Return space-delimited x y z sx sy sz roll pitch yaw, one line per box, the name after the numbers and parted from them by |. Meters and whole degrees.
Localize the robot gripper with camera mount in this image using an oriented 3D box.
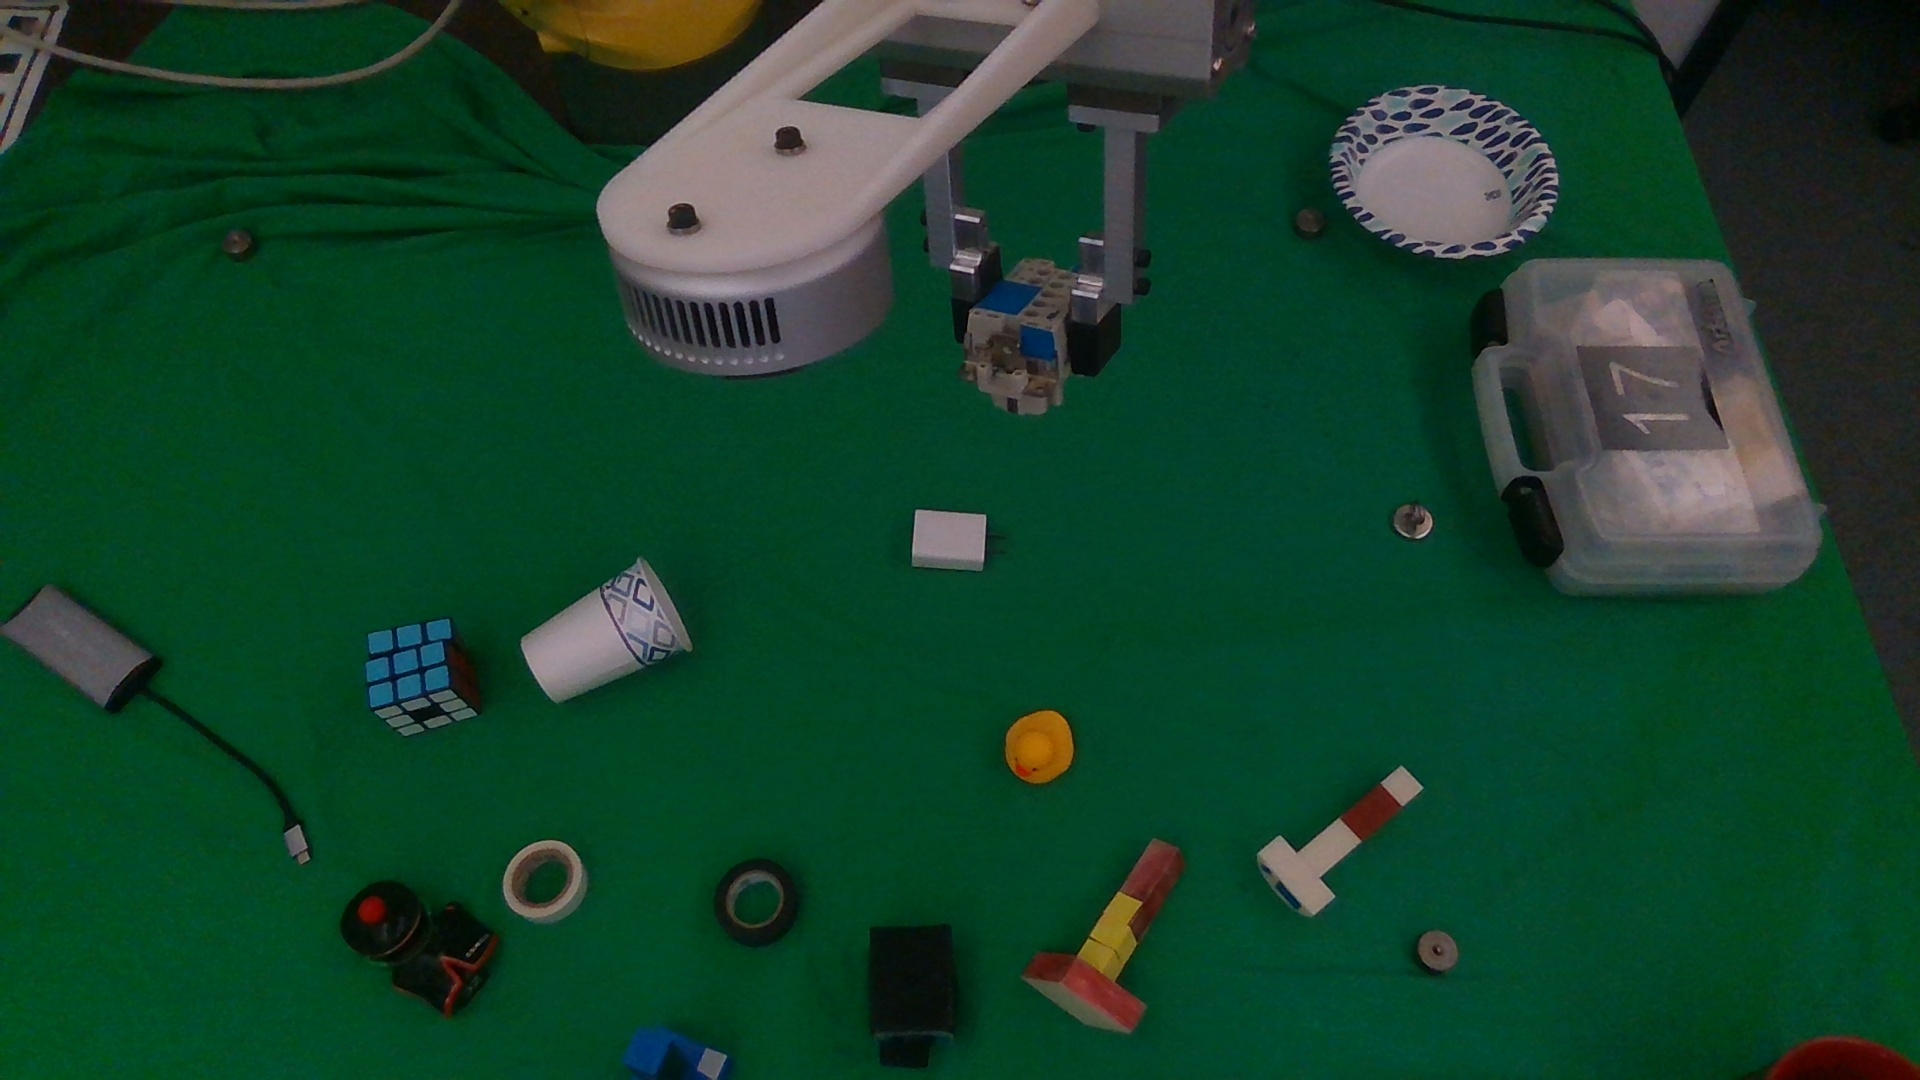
-0.013 -0.080 0.352 0.119 0.158 0.193 17 41 24 | robot gripper with camera mount

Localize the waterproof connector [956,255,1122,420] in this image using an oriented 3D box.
0.027 -0.066 0.456 0.035 0.037 0.065 16 42 21 | waterproof connector
